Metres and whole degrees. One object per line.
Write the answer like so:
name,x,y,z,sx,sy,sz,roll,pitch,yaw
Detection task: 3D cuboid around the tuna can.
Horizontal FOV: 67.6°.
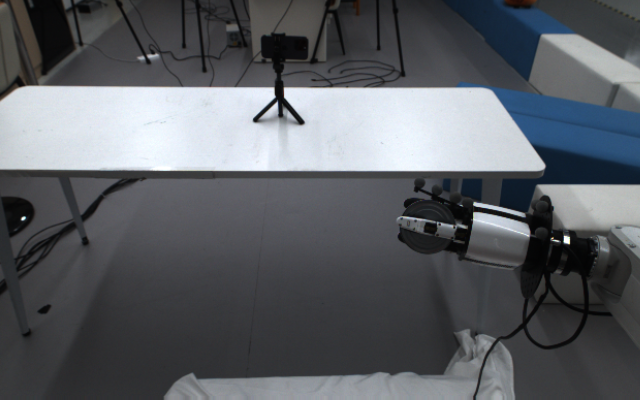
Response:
tuna can,0.173,0.039,0.765,0.085,0.085,0.034,14,2,16
